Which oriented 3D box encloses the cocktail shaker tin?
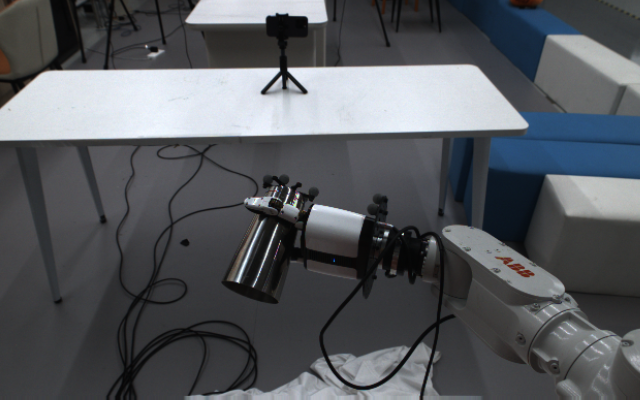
[{"bbox_3d":[-0.078,0.063,0.758,0.093,0.093,0.170,13,65,15],"label":"cocktail shaker tin"}]
